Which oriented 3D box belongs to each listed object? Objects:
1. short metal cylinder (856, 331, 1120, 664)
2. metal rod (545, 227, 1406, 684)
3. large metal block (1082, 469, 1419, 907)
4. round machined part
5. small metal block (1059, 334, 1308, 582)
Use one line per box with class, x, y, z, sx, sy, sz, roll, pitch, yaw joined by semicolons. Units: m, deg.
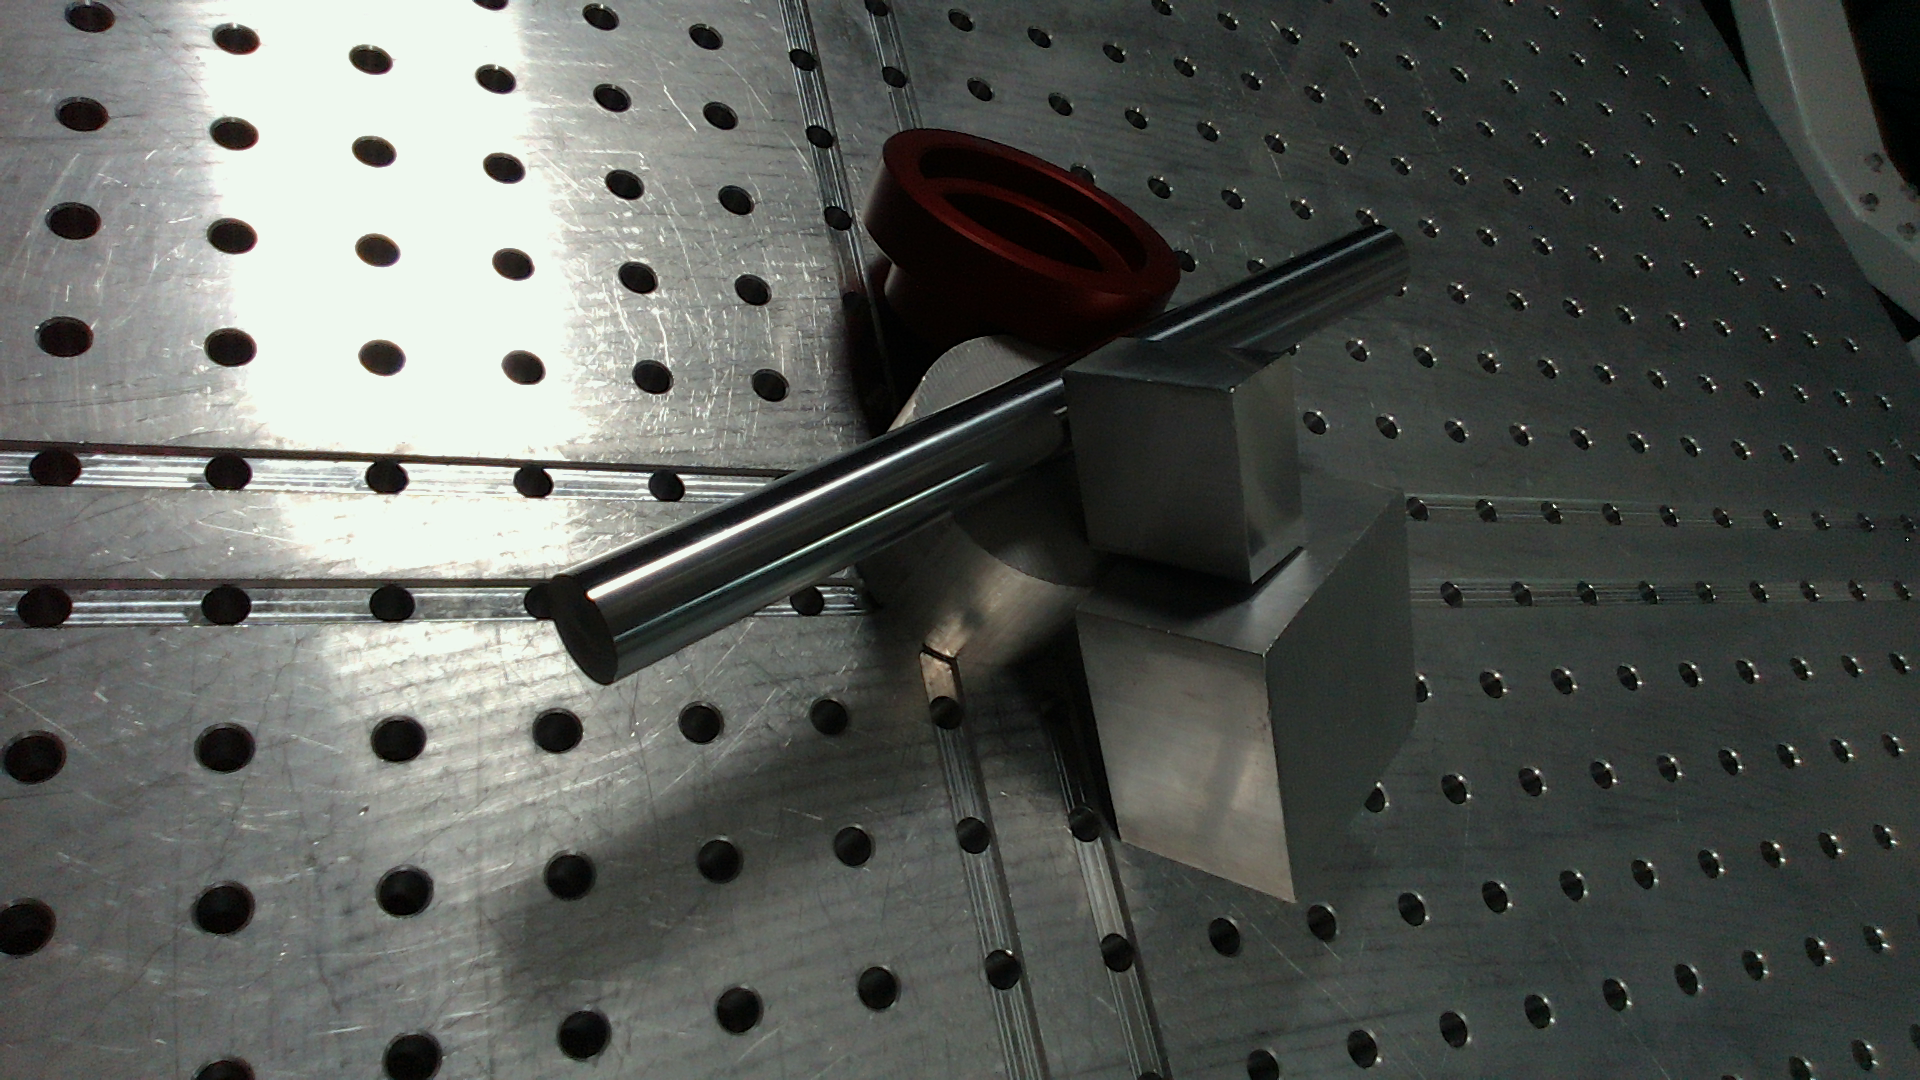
short metal cylinder;0.014;-0.012;0.390;0.080;0.050;0.080;14;56;-21
metal rod;0.030;-0.037;0.367;0.301;0.025;0.025;-27;76;-37
large metal block;0.082;0.035;0.369;0.080;0.050;0.080;-41;129;-39
round machined part;0.015;-0.085;0.427;0.098;0.042;0.098;19;31;-12
small metal block;0.056;-0.022;0.342;0.025;0.050;0.050;-33;122;-38
